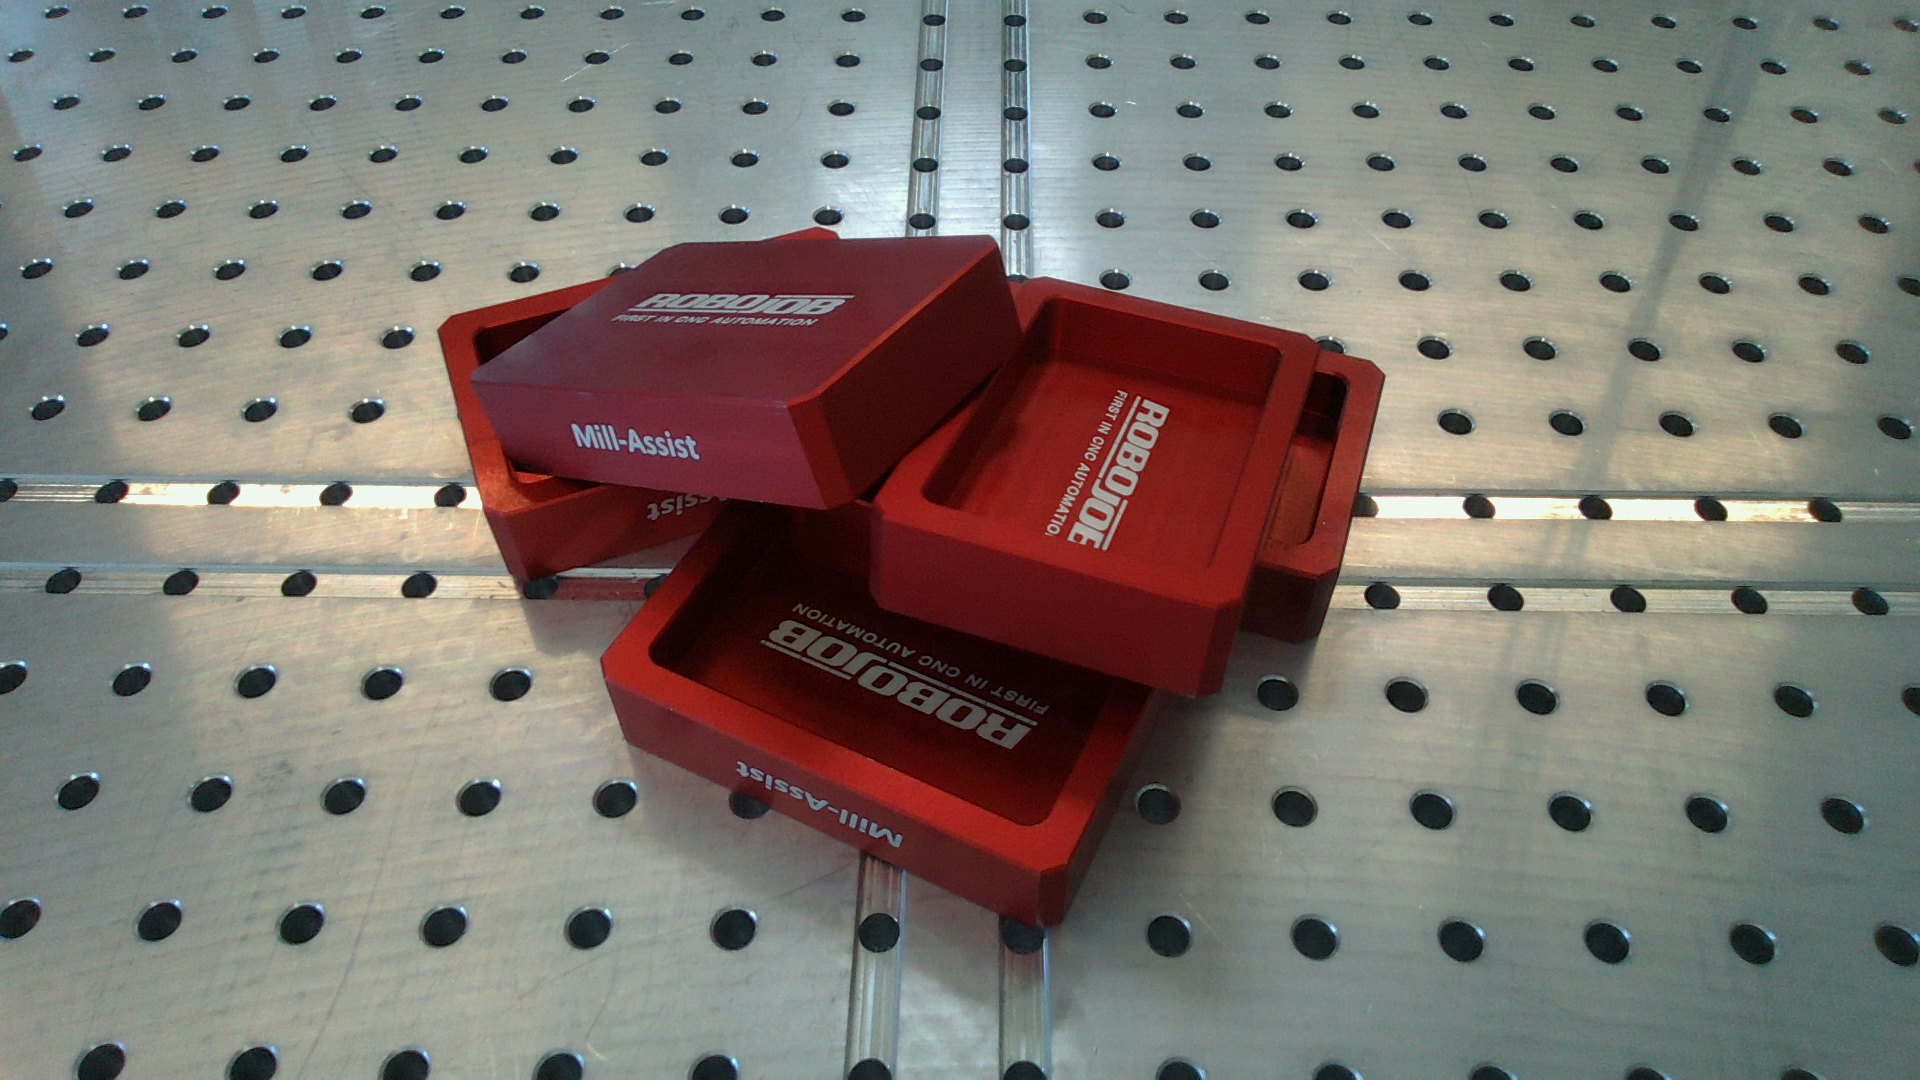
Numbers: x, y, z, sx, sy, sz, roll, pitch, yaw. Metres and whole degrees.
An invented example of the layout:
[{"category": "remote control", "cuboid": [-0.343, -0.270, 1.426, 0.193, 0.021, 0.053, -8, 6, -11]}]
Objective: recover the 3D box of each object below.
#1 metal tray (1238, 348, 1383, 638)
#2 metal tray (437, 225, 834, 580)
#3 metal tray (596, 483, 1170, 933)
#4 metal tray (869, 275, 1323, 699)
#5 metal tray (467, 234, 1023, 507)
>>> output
[{"category": "metal tray", "cuboid": [0.053, -0.029, 0.414, 0.130, 0.030, 0.090, 14, 51, 13]}, {"category": "metal tray", "cuboid": [-0.087, -0.047, 0.430, 0.130, 0.030, 0.090, -18, 52, -14]}, {"category": "metal tray", "cuboid": [-0.016, 0.034, 0.362, 0.130, 0.030, 0.090, 21, 53, 17]}, {"category": "metal tray", "cuboid": [0.041, -0.022, 0.369, 0.090, 0.030, 0.130, 15, 40, 13]}, {"category": "metal tray", "cuboid": [-0.060, -0.051, 0.381, 0.129, 0.030, 0.090, 8, 39, 36]}]
